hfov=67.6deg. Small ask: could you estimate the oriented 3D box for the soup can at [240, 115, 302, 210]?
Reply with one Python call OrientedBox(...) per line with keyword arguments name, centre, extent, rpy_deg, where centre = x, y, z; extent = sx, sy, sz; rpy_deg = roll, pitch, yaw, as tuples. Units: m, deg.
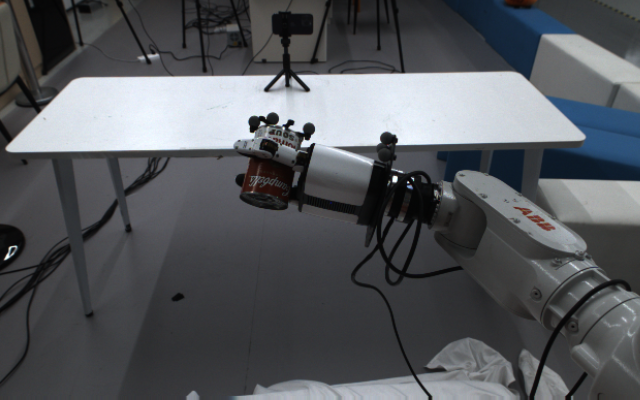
OrientedBox(name="soup can", centre=(-0.067, -0.044, 0.666), extent=(0.067, 0.067, 0.101), rpy_deg=(8, 72, 9))
